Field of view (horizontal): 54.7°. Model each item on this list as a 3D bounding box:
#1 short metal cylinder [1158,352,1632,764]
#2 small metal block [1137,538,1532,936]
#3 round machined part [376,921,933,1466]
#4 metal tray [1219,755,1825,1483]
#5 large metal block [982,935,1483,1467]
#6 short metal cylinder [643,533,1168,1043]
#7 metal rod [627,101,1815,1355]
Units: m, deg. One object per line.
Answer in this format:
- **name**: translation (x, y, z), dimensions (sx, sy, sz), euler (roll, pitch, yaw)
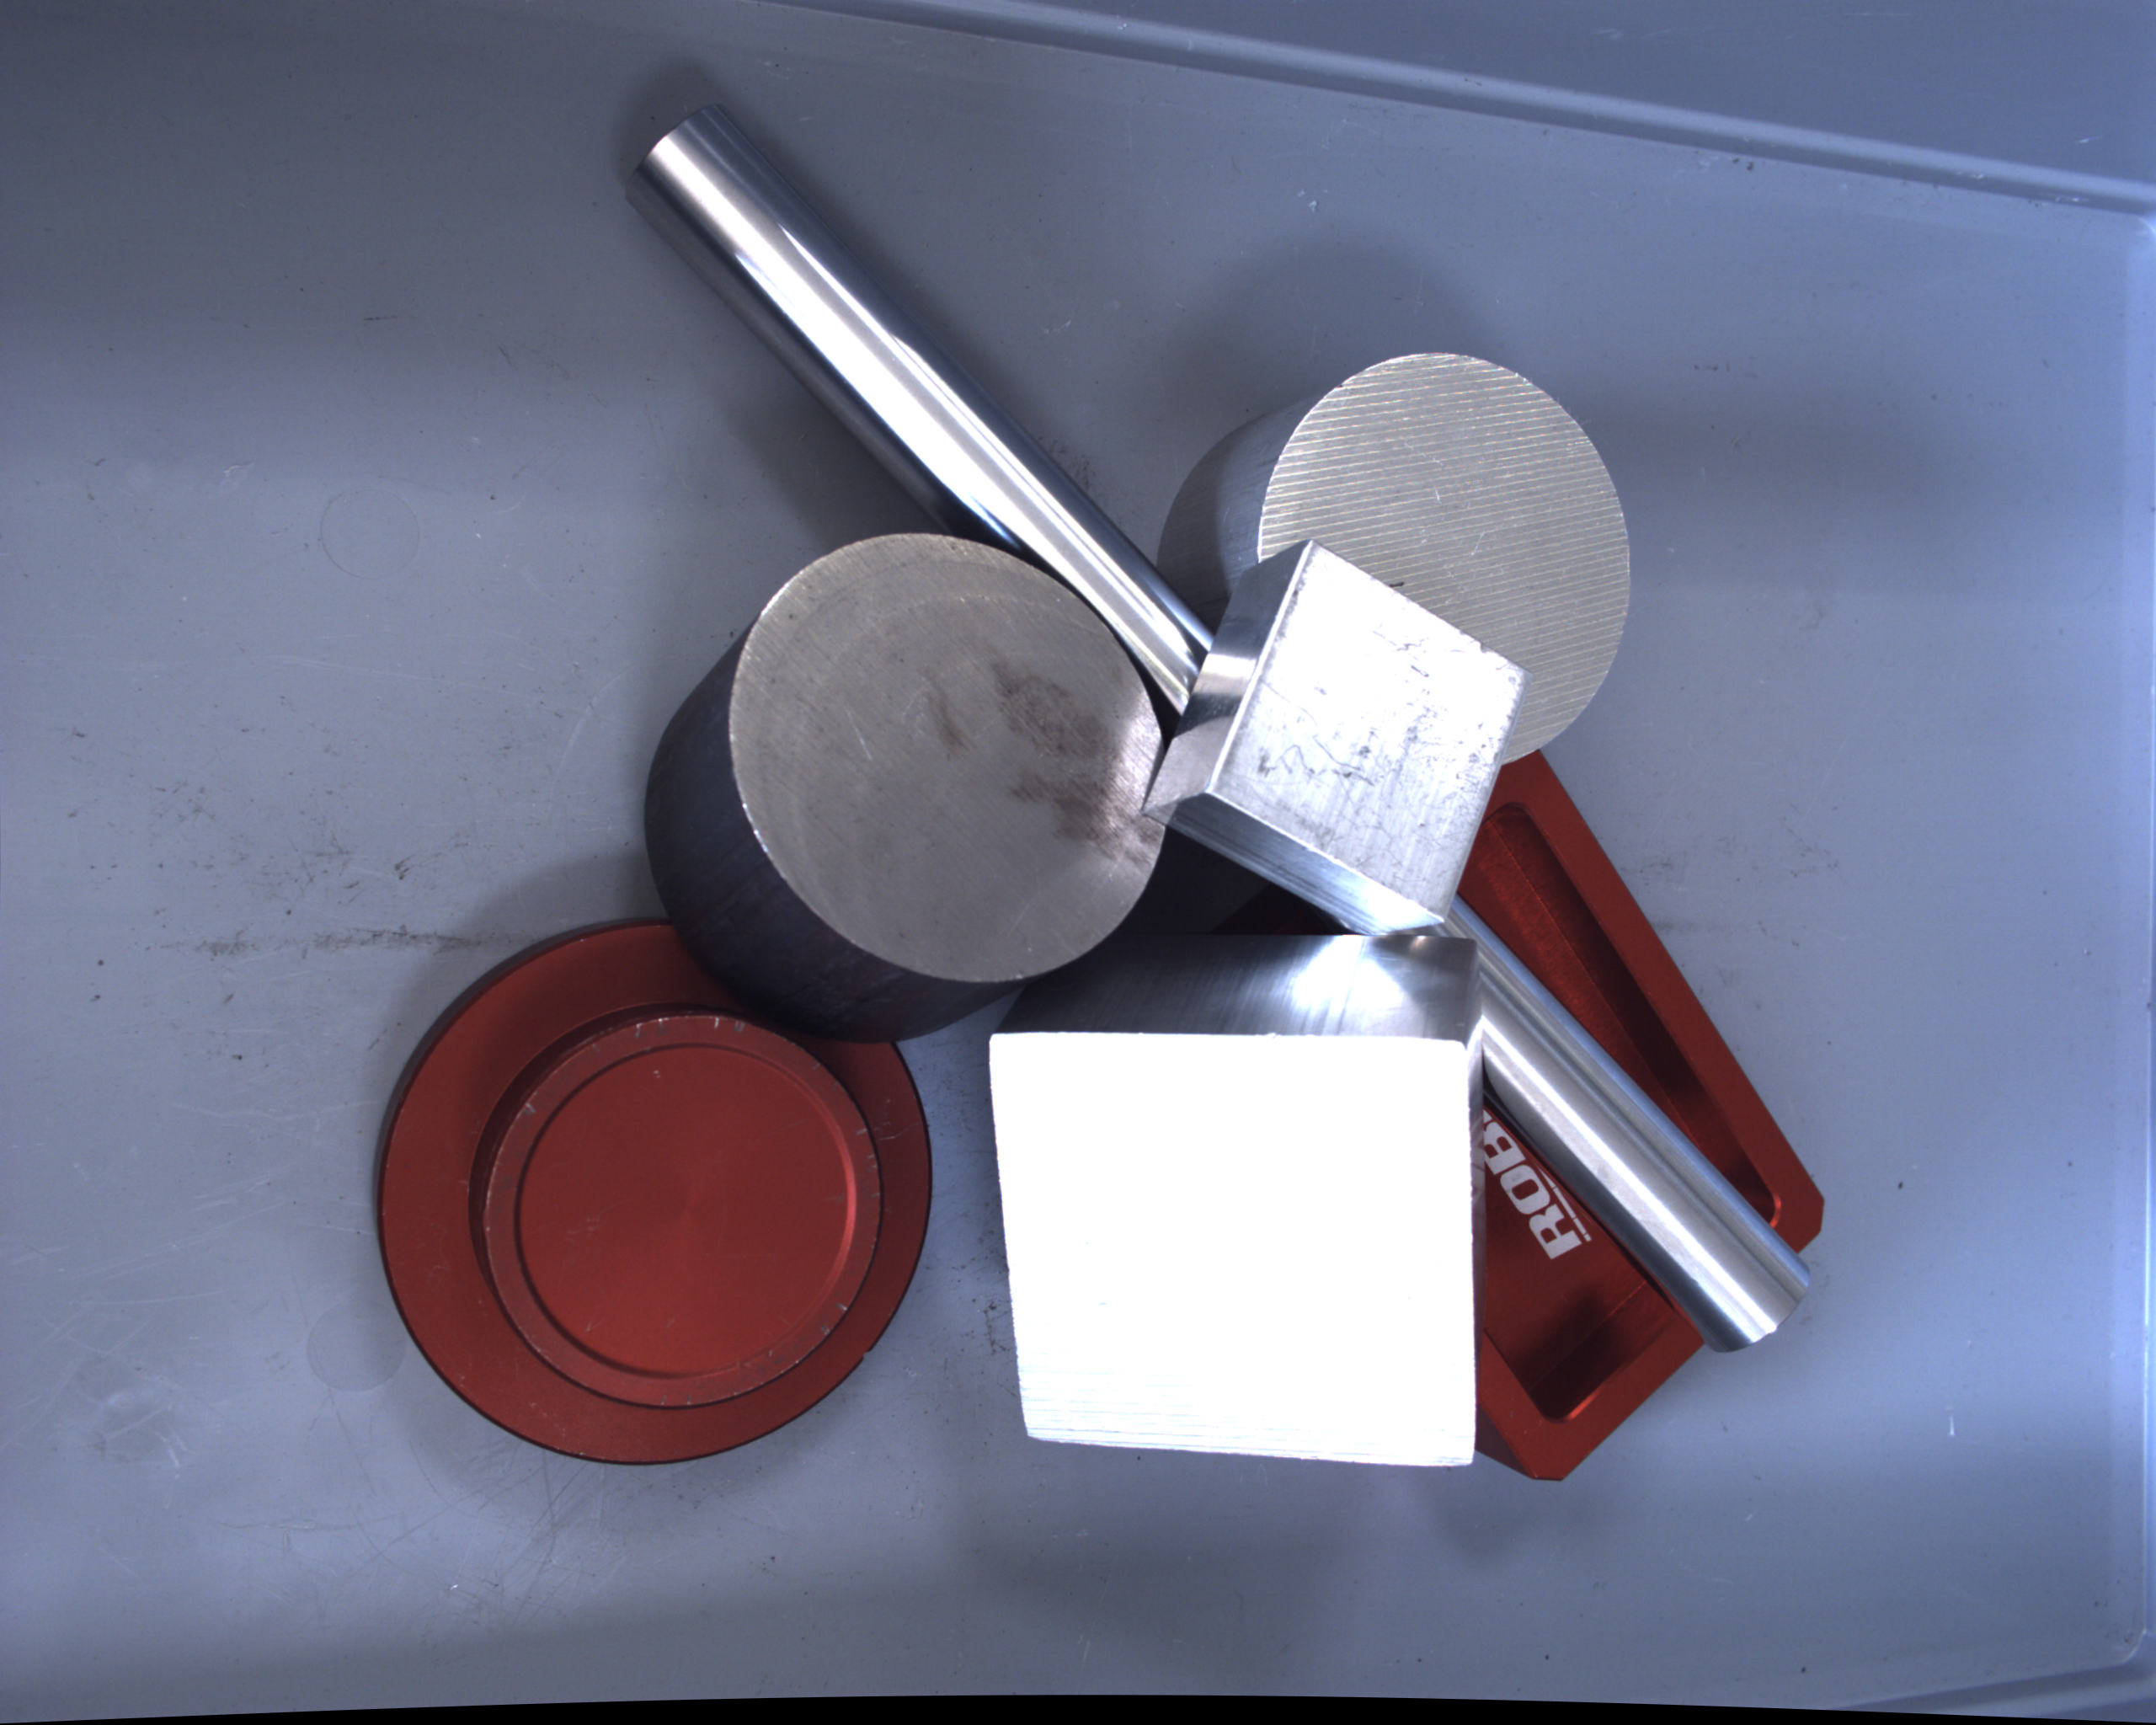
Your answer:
- **short metal cylinder**: translation (0.062, -0.057, 0.419), dimensions (0.081, 0.050, 0.079), euler (0, 90, -20)
- **small metal block**: translation (0.046, -0.021, 0.370), dimensions (0.050, 0.025, 0.050), euler (28, 73, -18)
- **round machined part**: translation (-0.073, 0.059, 0.372), dimensions (0.099, 0.042, 0.097), euler (0, 90, -20)
- **metal tray**: translation (0.089, 0.052, 0.439), dimensions (0.090, 0.030, 0.130), euler (-38, 102, -16)
- **large metal block**: translation (0.031, 0.059, 0.379), dimensions (0.080, 0.050, 0.079), euler (0, 107, 13)
- **short metal cylinder**: translation (-0.031, -0.012, 0.372), dimensions (0.081, 0.050, 0.080), euler (9, 70, -26)
- **metal rod**: translation (0.030, -0.022, 0.394), dimensions (0.300, 0.025, 0.025), euler (46, 75, -5)
